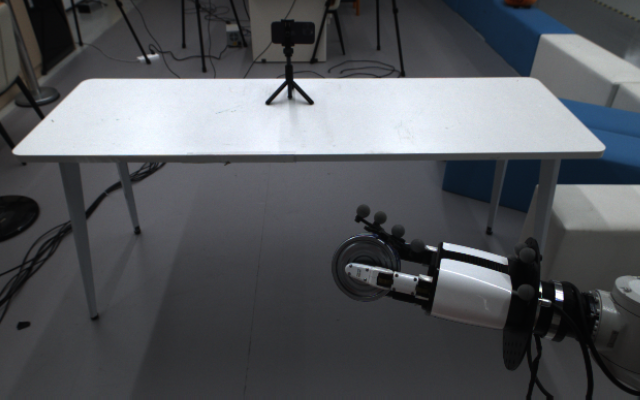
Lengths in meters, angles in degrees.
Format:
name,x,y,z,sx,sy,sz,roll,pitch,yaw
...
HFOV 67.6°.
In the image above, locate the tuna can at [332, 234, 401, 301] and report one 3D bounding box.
name,x,y,z,sx,sy,sz,roll,pitch,yaw
tuna can,0.063,0.091,0.614,0.085,0.085,0.034,13,4,15
